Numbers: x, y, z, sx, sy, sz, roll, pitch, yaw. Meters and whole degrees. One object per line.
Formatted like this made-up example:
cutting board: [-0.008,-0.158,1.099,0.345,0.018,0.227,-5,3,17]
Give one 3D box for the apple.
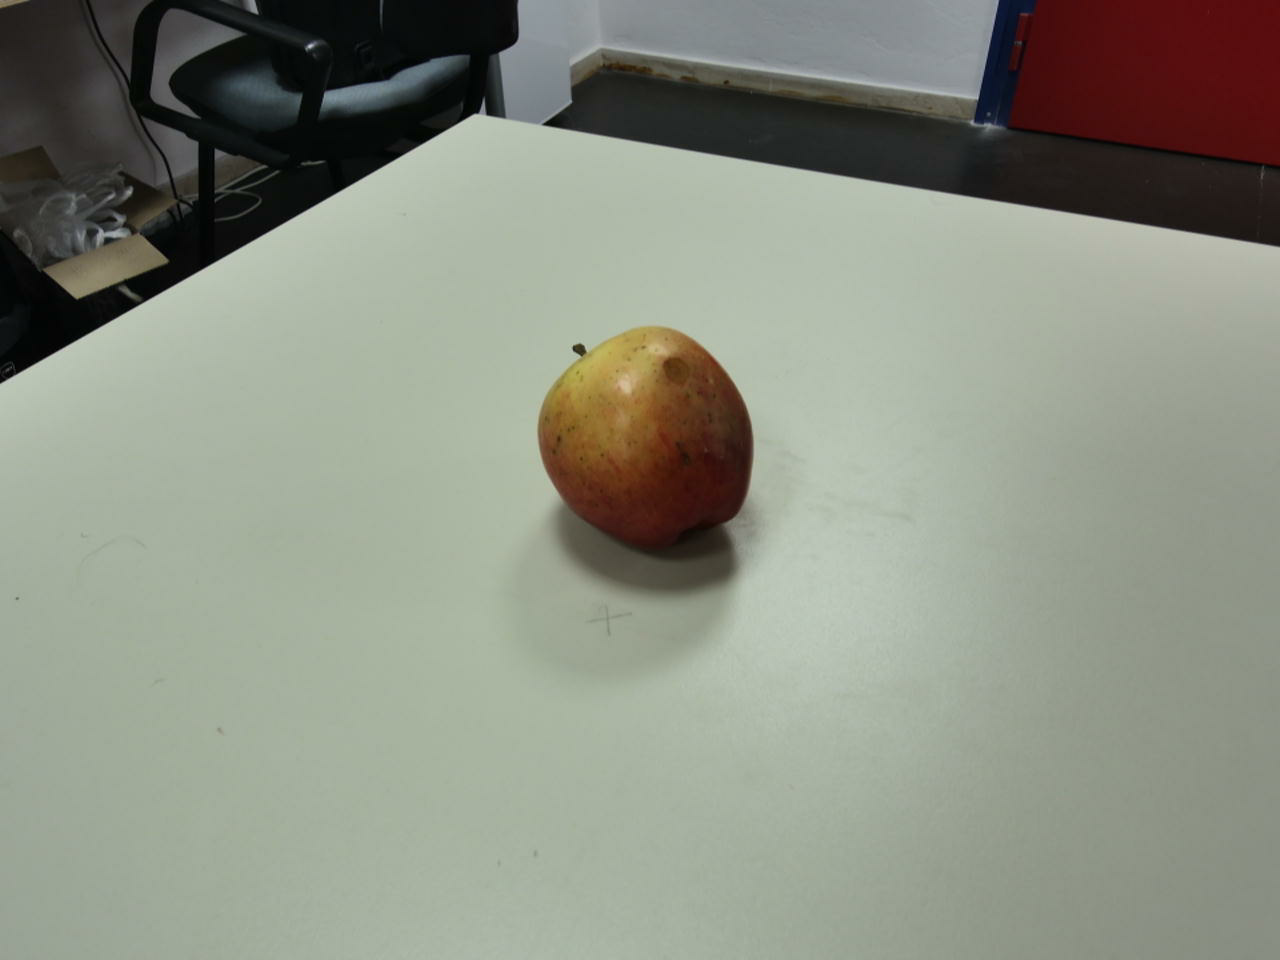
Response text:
apple: [0.002,-0.018,0.409,0.086,0.084,0.093,-7,37,-7]
